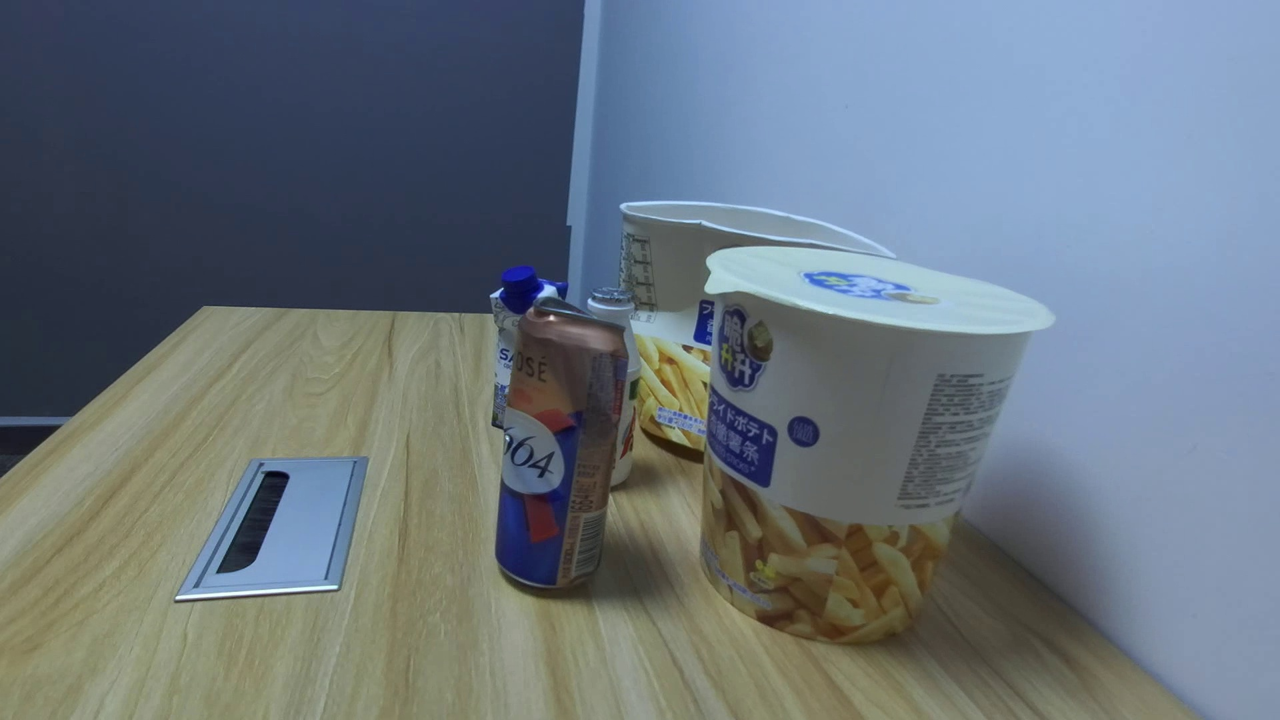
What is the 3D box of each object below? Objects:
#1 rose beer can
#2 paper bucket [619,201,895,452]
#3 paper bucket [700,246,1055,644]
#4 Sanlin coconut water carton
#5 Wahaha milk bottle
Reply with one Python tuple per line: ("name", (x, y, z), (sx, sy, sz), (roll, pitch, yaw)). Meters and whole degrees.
("rose beer can", (-0.048, 0.051, 0.415), (0.069, 0.168, 0.070), (10, 16, 2))
("paper bucket", (0.083, -0.026, 0.614), (0.218, 0.199, 0.147), (6, 21, -2))
("paper bucket", (0.123, 0.046, 0.434), (0.198, 0.194, 0.198), (5, 19, -2))
("Sanlin coconut water carton", (-0.095, -0.012, 0.610), (0.060, 0.143, 0.070), (10, 19, 18))
("Wahaha milk bottle", (-0.026, 0.022, 0.530), (0.053, 0.147, 0.053), (6, 20, -2))
